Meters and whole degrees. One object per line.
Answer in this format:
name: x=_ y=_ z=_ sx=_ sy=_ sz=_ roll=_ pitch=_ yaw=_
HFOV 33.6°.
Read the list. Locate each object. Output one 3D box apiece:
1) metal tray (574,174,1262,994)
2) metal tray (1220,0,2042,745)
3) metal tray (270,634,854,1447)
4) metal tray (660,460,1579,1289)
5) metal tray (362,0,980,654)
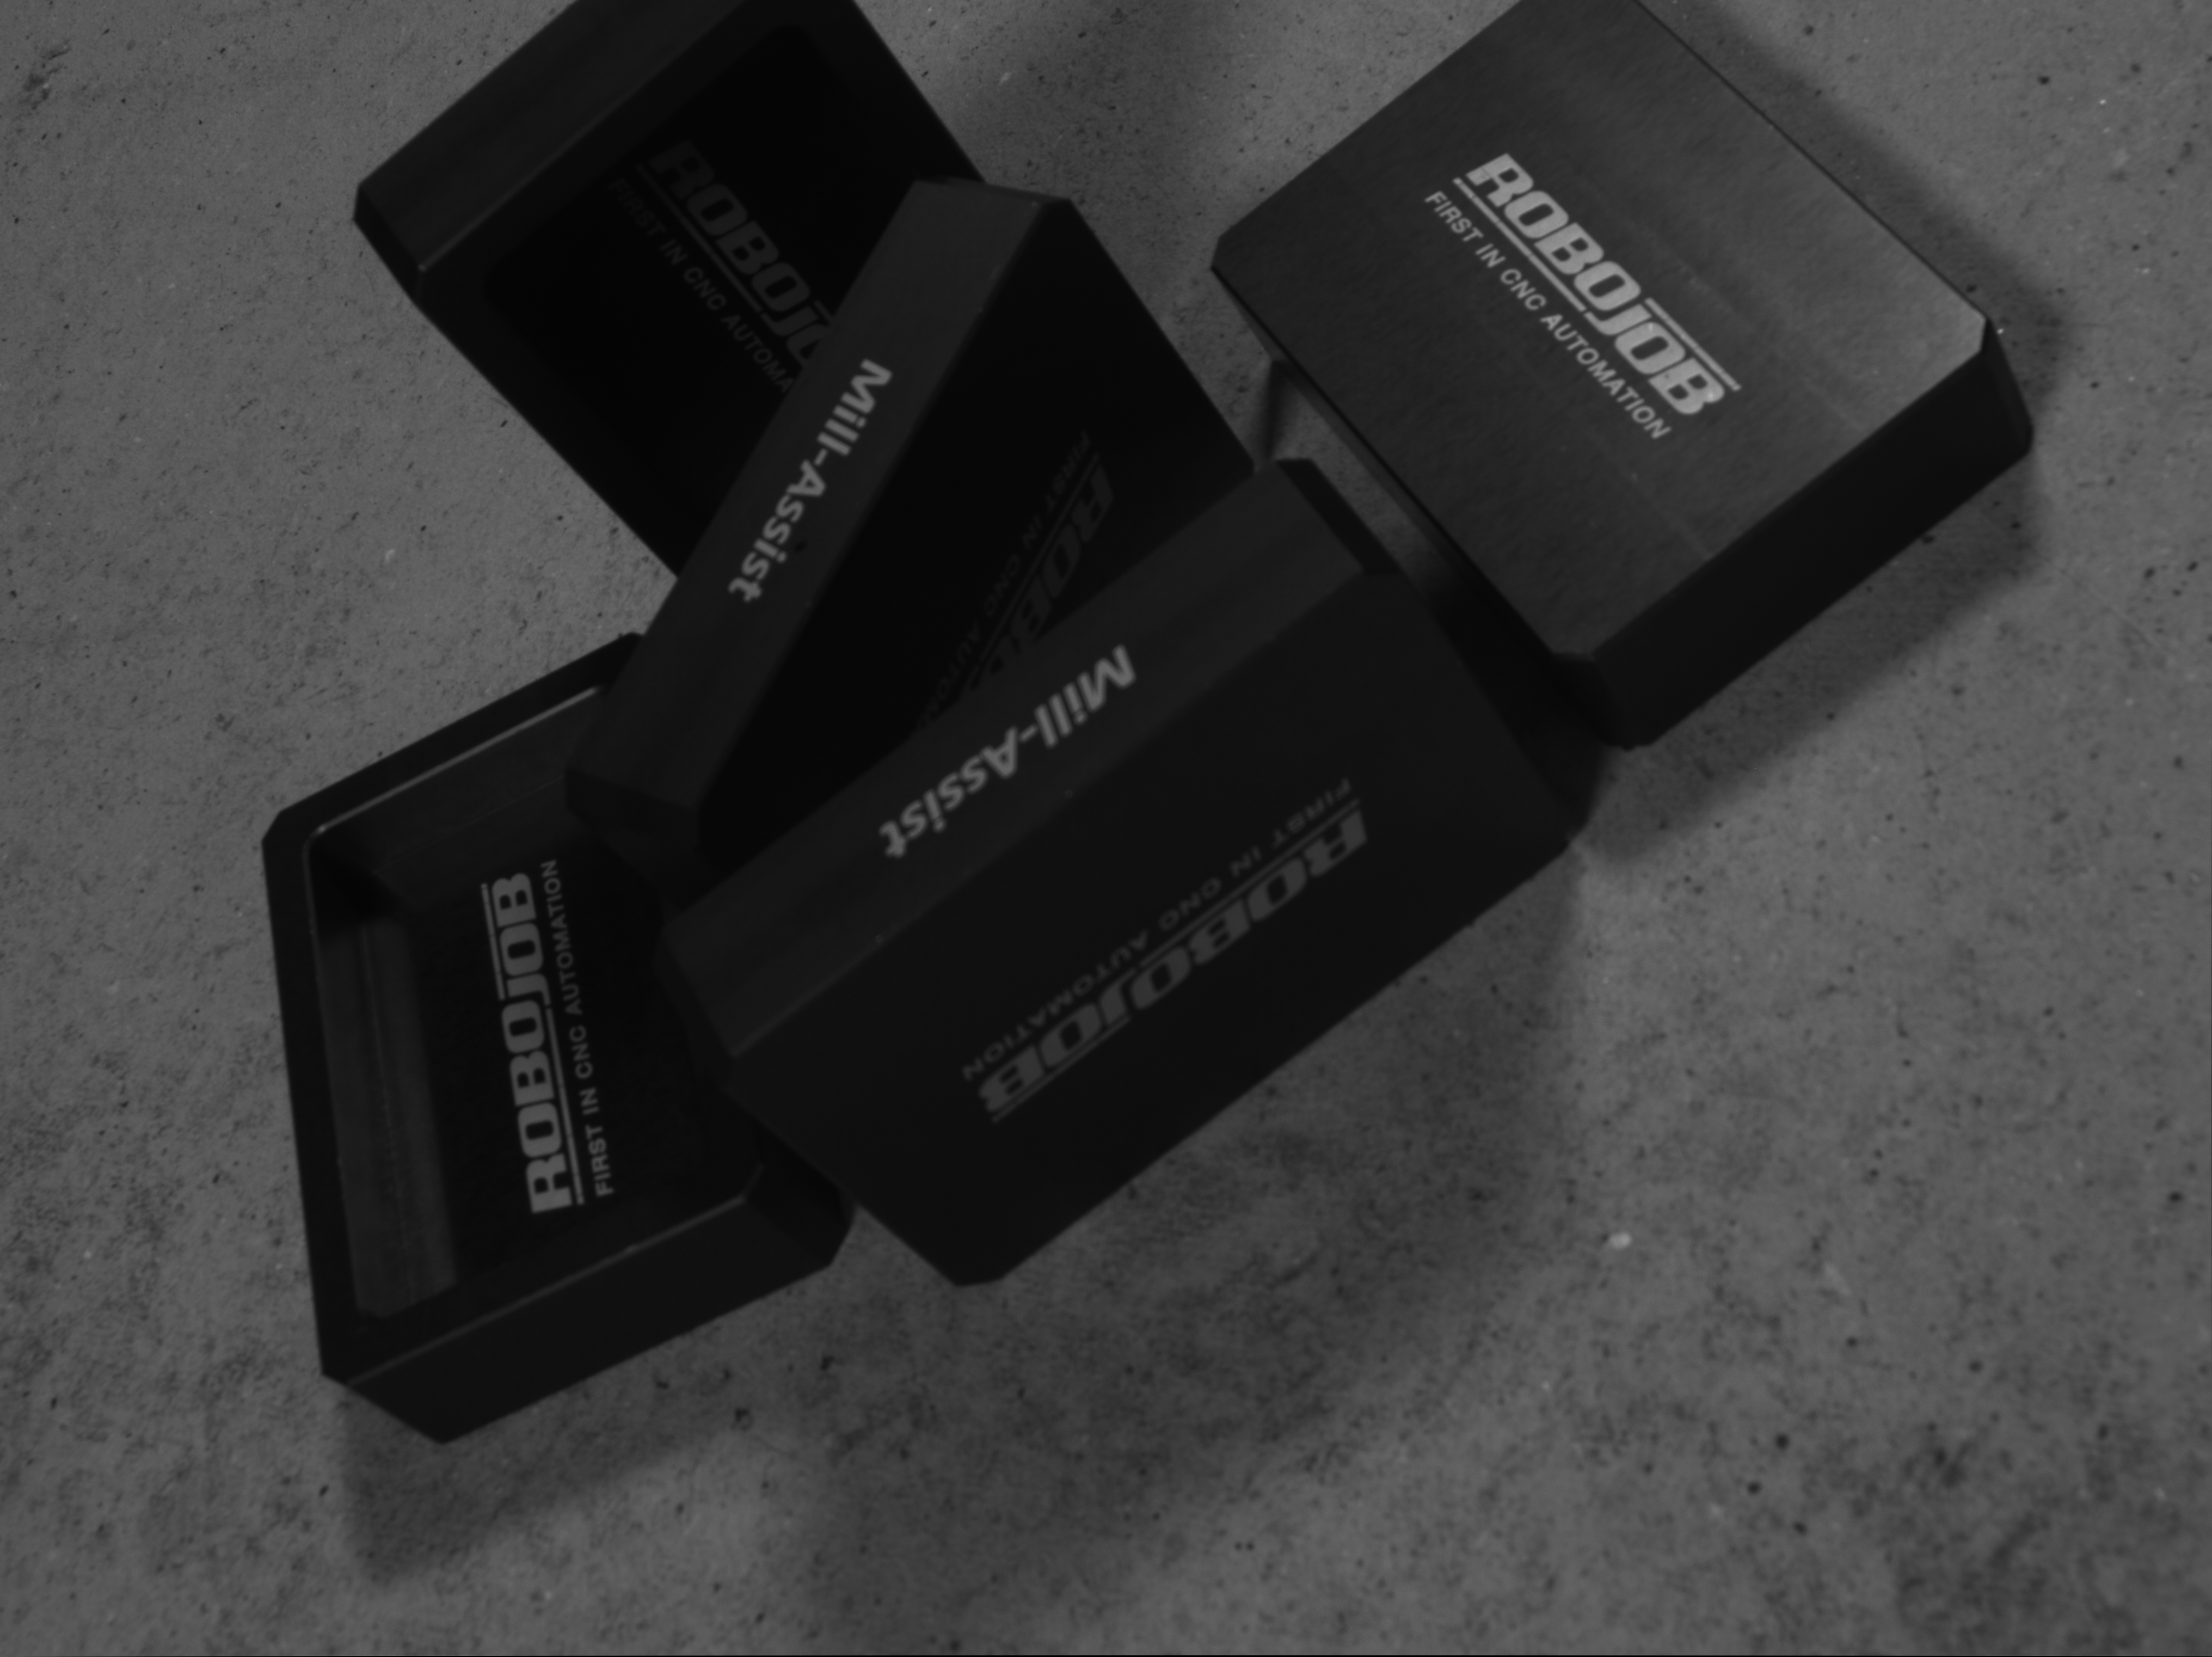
metal tray: x=-0.029 y=-0.036 z=0.640 sx=0.030 sy=0.090 sz=0.130 roll=17 pitch=71 yaw=35
metal tray: x=0.089 y=-0.086 z=0.646 sx=0.090 sy=0.030 sz=0.130 roll=-38 pitch=51 yaw=3
metal tray: x=-0.103 y=0.037 z=0.674 sx=0.090 sy=0.030 sz=0.130 roll=-26 pitch=52 yaw=12
metal tray: x=0.005 y=0.010 z=0.593 sx=0.130 sy=0.090 sz=0.030 roll=-37 pitch=51 yaw=3
metal tray: x=-0.062 y=-0.097 z=0.670 sx=0.090 sy=0.130 sz=0.030 roll=-40 pitch=51 yaw=1
